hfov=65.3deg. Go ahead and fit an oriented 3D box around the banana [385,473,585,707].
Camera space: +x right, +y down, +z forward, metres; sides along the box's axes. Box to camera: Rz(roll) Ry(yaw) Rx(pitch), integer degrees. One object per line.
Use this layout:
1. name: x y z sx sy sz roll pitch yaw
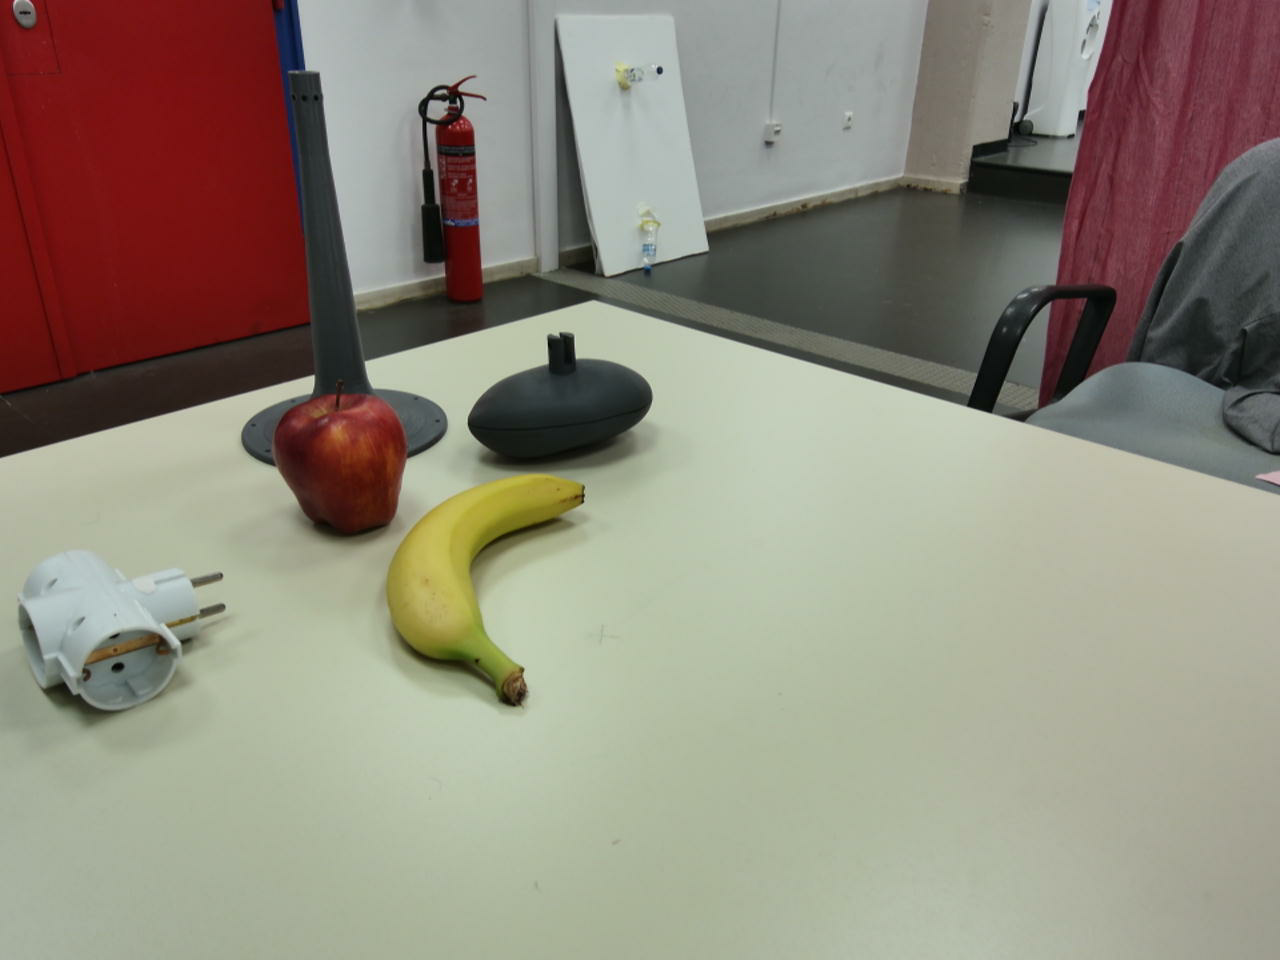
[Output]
1. banana: -0.090 0.046 0.557 0.094 0.041 0.196 4 25 5
